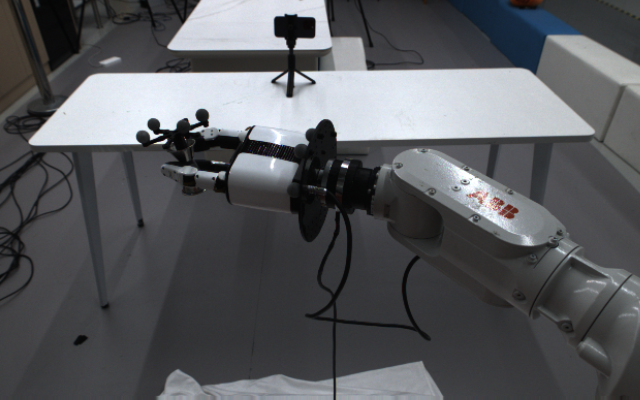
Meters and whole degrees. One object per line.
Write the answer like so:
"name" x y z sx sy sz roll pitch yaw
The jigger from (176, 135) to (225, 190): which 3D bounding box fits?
"jigger" -0.179 -0.045 0.667 0.043 0.071 0.043 -10 32 6
